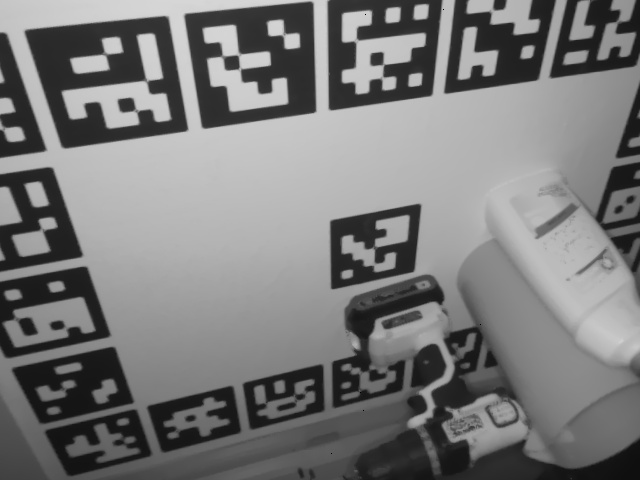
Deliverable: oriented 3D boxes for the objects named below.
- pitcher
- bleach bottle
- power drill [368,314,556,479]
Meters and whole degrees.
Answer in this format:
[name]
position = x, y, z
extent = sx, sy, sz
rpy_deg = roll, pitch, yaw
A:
[pitcher]
position = 0.290, 0.126, 0.744
extent = 0.188, 0.243, 0.133
rpy_deg = -31, 127, 4
[bleach bottle]
position = 0.304, 0.054, 0.672
extent = 0.103, 0.251, 0.067
rpy_deg = -16, 128, -8
[power drill]
position = 0.126, 0.165, 0.725
extent = 0.185, 0.187, 0.057
rpy_deg = -11, 125, -4
